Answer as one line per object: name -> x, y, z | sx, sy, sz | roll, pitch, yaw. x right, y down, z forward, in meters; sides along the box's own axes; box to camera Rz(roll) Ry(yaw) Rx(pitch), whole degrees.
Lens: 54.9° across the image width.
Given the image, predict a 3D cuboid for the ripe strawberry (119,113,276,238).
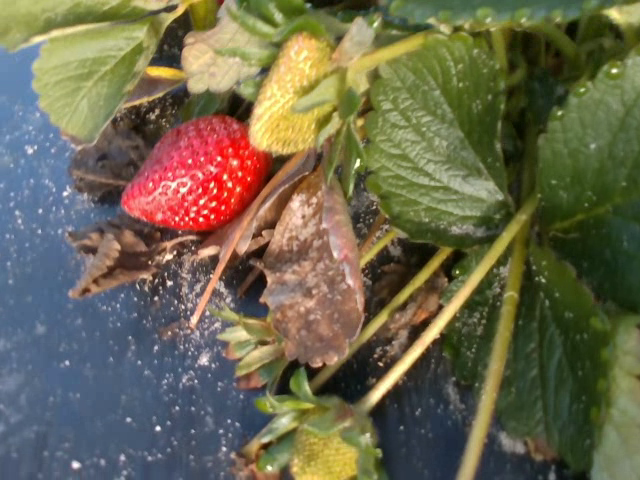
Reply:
ripe strawberry -> -0.028, -0.013, 0.123 | 0.031, 0.026, 0.030 | 32, 54, 33
